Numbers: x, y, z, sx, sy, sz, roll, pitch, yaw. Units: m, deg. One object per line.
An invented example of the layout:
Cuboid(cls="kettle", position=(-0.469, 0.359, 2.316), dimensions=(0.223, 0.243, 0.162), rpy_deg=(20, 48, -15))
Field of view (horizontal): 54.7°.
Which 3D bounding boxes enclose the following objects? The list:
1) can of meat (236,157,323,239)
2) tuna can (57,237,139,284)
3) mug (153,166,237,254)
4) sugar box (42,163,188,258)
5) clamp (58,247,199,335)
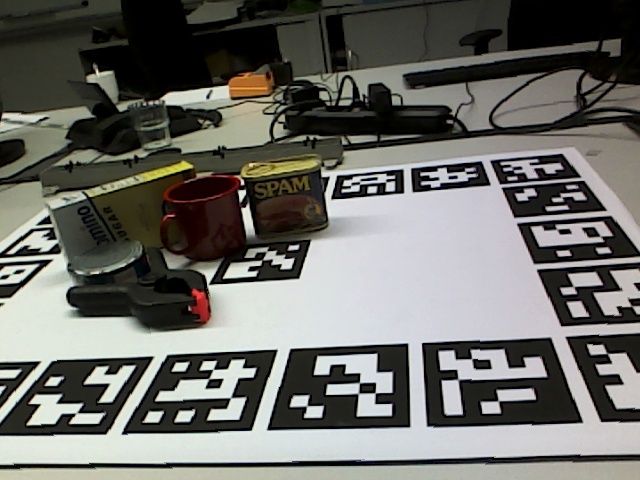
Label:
Cuboid(cls="can of meat", position=(-0.048, -0.052, 0.777), dimensions=(0.102, 0.083, 0.058), rpy_deg=(-6, 25, 2))
Cuboid(cls="tuna can", position=(-0.254, 0.032, 0.711), dimensions=(0.086, 0.033, 0.086), rpy_deg=(-7, 28, 3))
Cuboid(cls="mug", position=(-0.154, -0.030, 0.747), dimensions=(0.094, 0.081, 0.117), rpy_deg=(10, 33, 32))
Cuboid(cls="sugar box", position=(-0.243, -0.029, 0.778), dimensions=(0.176, 0.092, 0.045), rpy_deg=(-20, 27, -25))
Cuboid(cls="clamp", position=(-0.183, 0.057, 0.651), dimensions=(0.166, 0.036, 0.121), rpy_deg=(21, 34, 38))
